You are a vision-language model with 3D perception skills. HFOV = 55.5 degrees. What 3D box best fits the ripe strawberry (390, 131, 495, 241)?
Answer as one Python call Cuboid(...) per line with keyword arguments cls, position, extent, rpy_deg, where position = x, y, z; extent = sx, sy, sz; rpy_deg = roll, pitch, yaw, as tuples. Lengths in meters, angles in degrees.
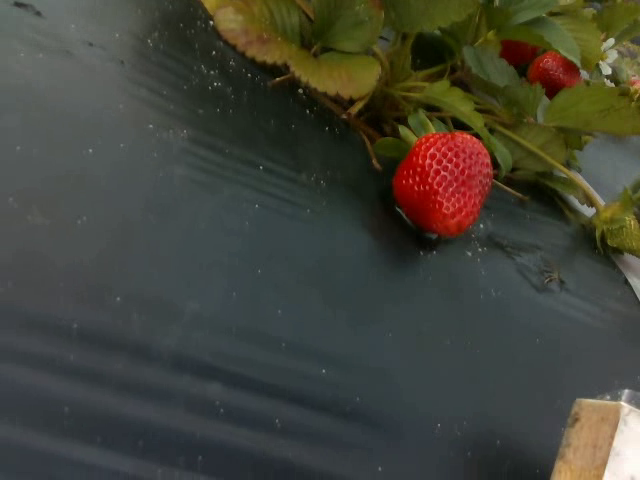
Cuboid(cls="ripe strawberry", position=(0.042, -0.018, 0.199), extent=(0.036, 0.040, 0.046), rpy_deg=(8, 30, -3))
